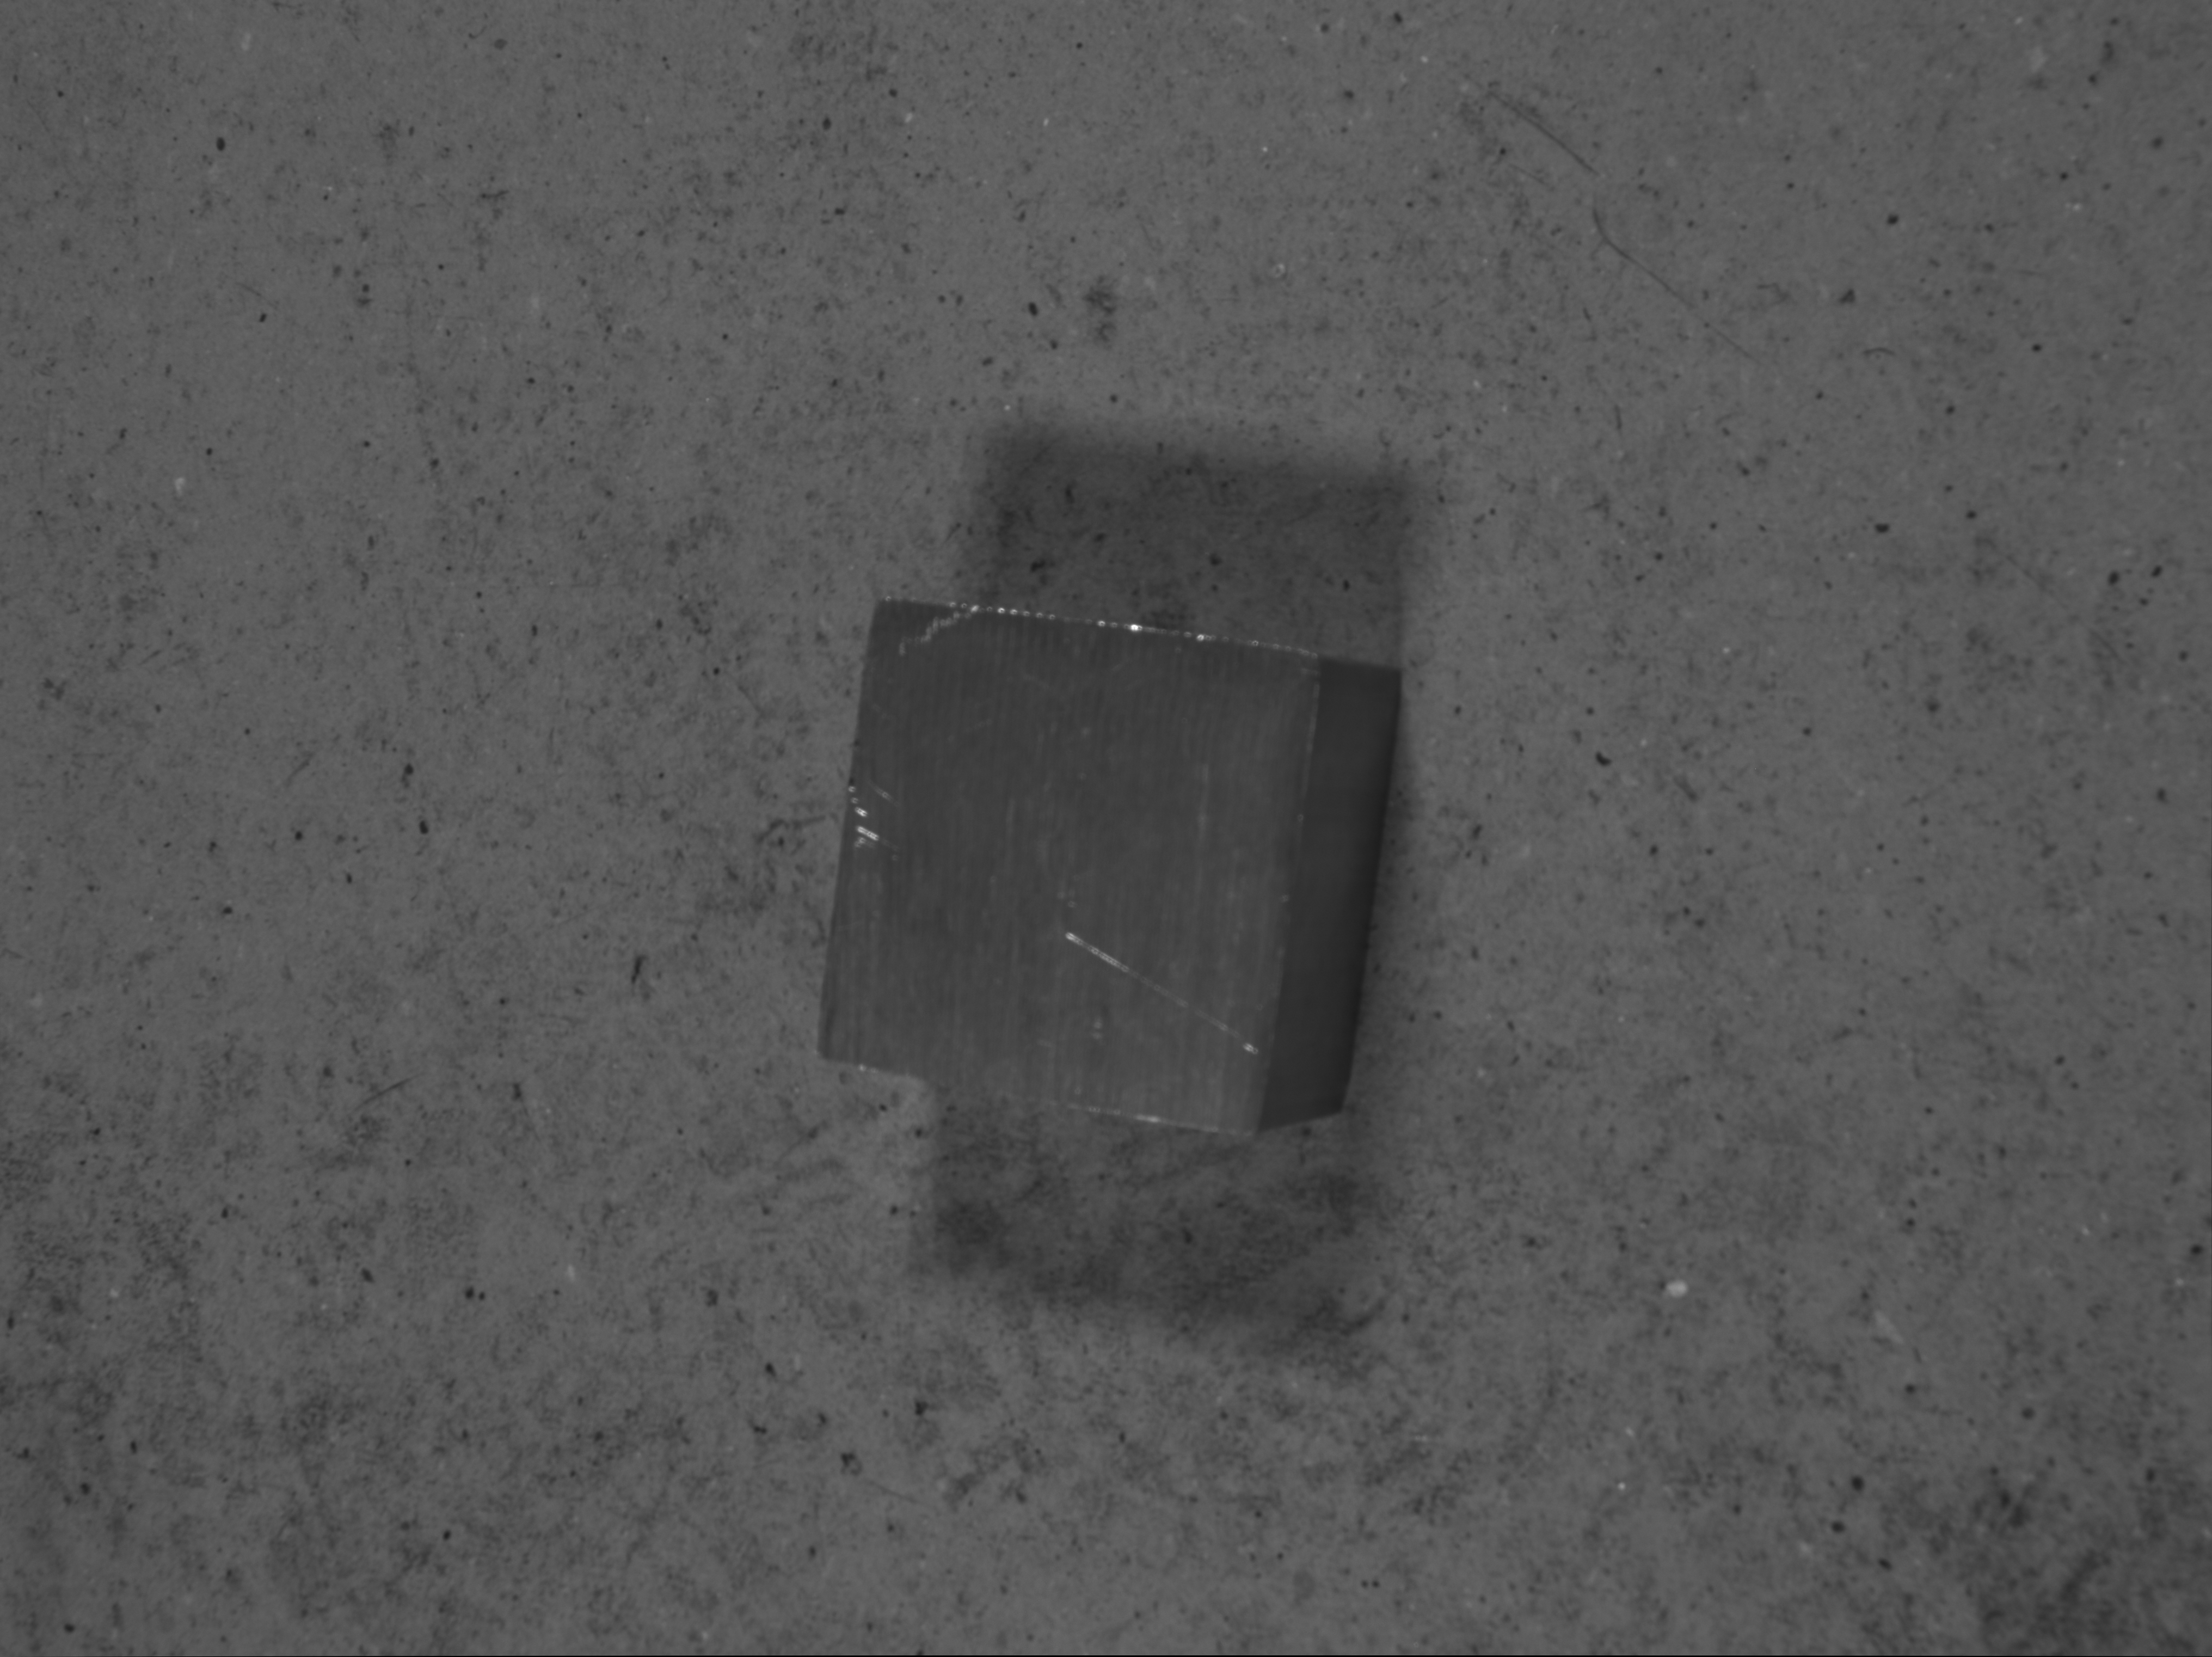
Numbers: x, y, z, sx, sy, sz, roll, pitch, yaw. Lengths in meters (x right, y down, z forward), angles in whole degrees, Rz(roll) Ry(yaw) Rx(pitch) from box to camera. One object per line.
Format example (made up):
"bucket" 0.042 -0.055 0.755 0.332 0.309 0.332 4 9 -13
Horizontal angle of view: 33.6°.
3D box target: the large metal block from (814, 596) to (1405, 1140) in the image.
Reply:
"large metal block" 0.001 0.006 0.631 0.080 0.050 0.080 8 93 20
